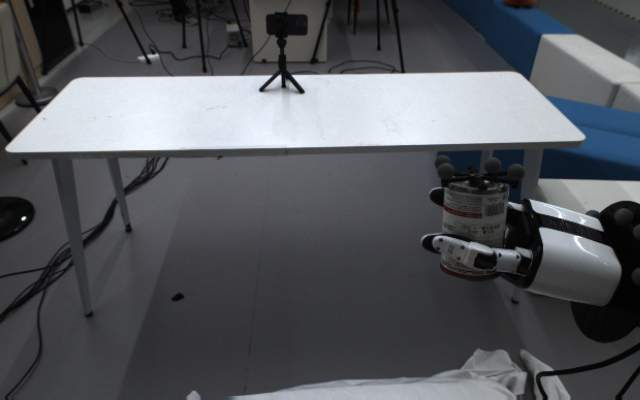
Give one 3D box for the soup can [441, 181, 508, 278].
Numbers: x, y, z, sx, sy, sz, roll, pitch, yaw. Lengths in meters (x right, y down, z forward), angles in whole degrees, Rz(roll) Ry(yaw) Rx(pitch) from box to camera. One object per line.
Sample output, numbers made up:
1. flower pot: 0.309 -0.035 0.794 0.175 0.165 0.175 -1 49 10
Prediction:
1. soup can: 0.171 0.029 0.532 0.067 0.101 0.067 -2 17 0
